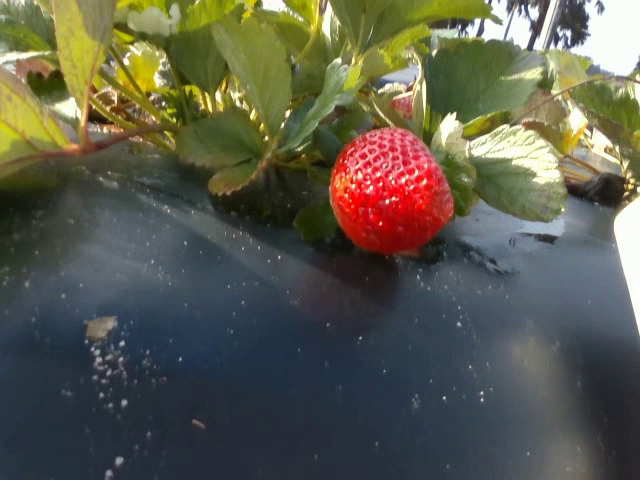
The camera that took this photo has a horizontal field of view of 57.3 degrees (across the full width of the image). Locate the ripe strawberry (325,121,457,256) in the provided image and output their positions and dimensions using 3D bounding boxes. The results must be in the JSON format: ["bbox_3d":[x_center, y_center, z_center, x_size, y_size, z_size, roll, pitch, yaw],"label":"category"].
[{"bbox_3d":[0.023,-0.014,0.157,0.041,0.041,0.047,-23,15,-17],"label":"ripe strawberry"}]
